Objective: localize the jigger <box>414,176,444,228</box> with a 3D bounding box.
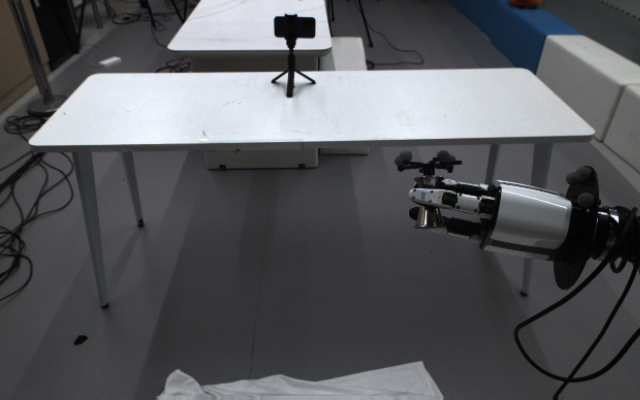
[{"bbox_3d":[0.146,0.002,0.654,0.043,0.071,0.043,1,-5,0],"label":"jigger"}]
